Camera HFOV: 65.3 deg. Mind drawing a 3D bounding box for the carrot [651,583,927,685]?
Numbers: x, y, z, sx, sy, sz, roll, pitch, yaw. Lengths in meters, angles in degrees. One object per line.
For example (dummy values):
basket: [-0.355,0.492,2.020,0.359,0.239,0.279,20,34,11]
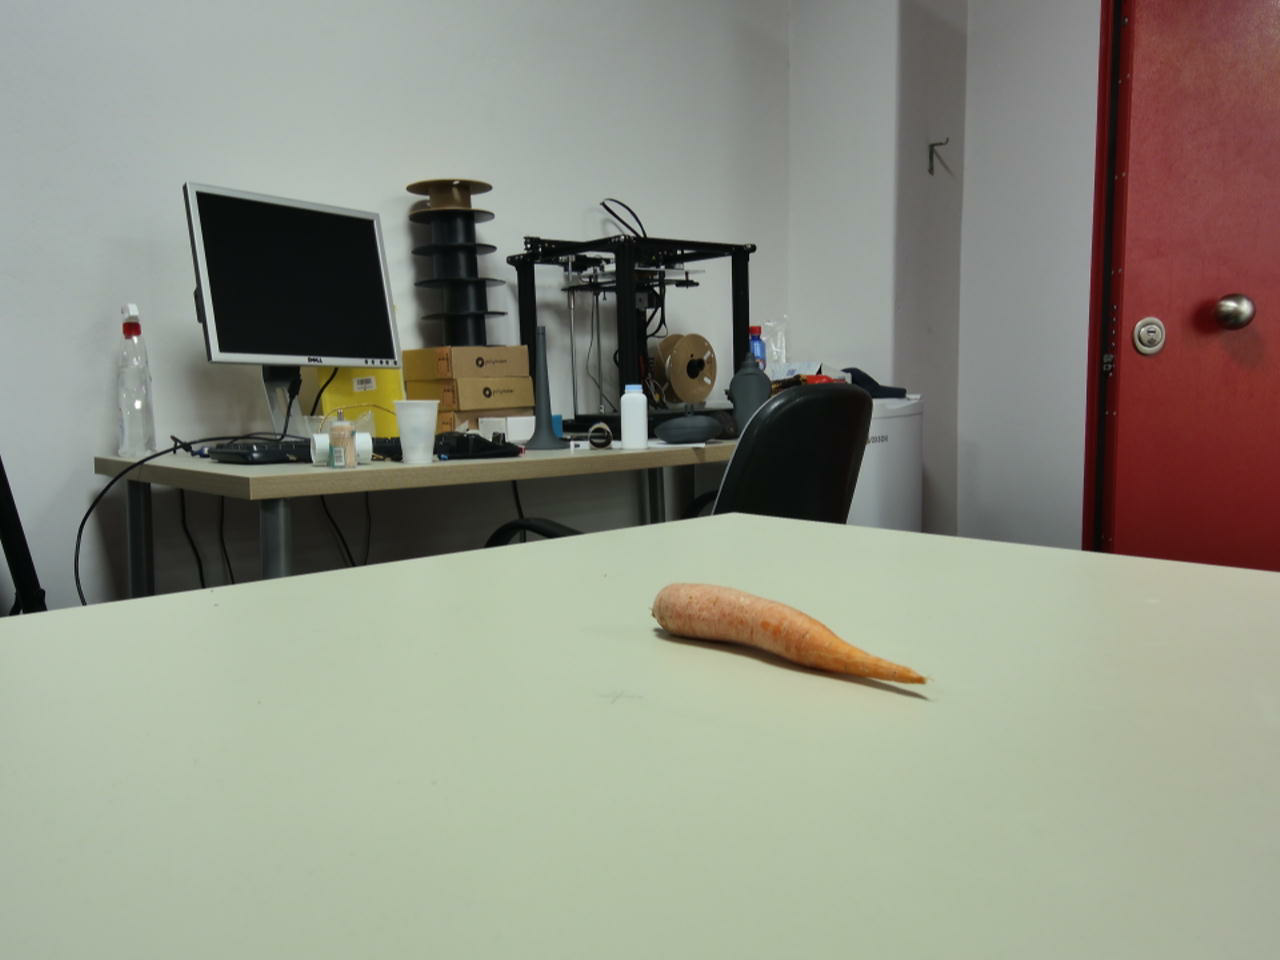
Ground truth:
carrot: [0.063,0.069,0.463,0.031,0.029,0.163,-2,5,-41]
